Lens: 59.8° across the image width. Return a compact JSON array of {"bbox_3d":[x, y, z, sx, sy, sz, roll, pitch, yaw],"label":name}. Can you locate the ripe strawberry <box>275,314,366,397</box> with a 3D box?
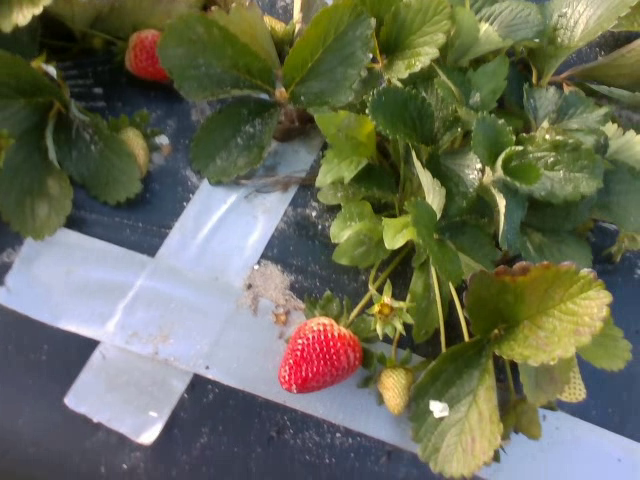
[{"bbox_3d":[-0.001,0.031,0.138,0.023,0.021,0.026,28,46,22],"label":"ripe strawberry"}]
